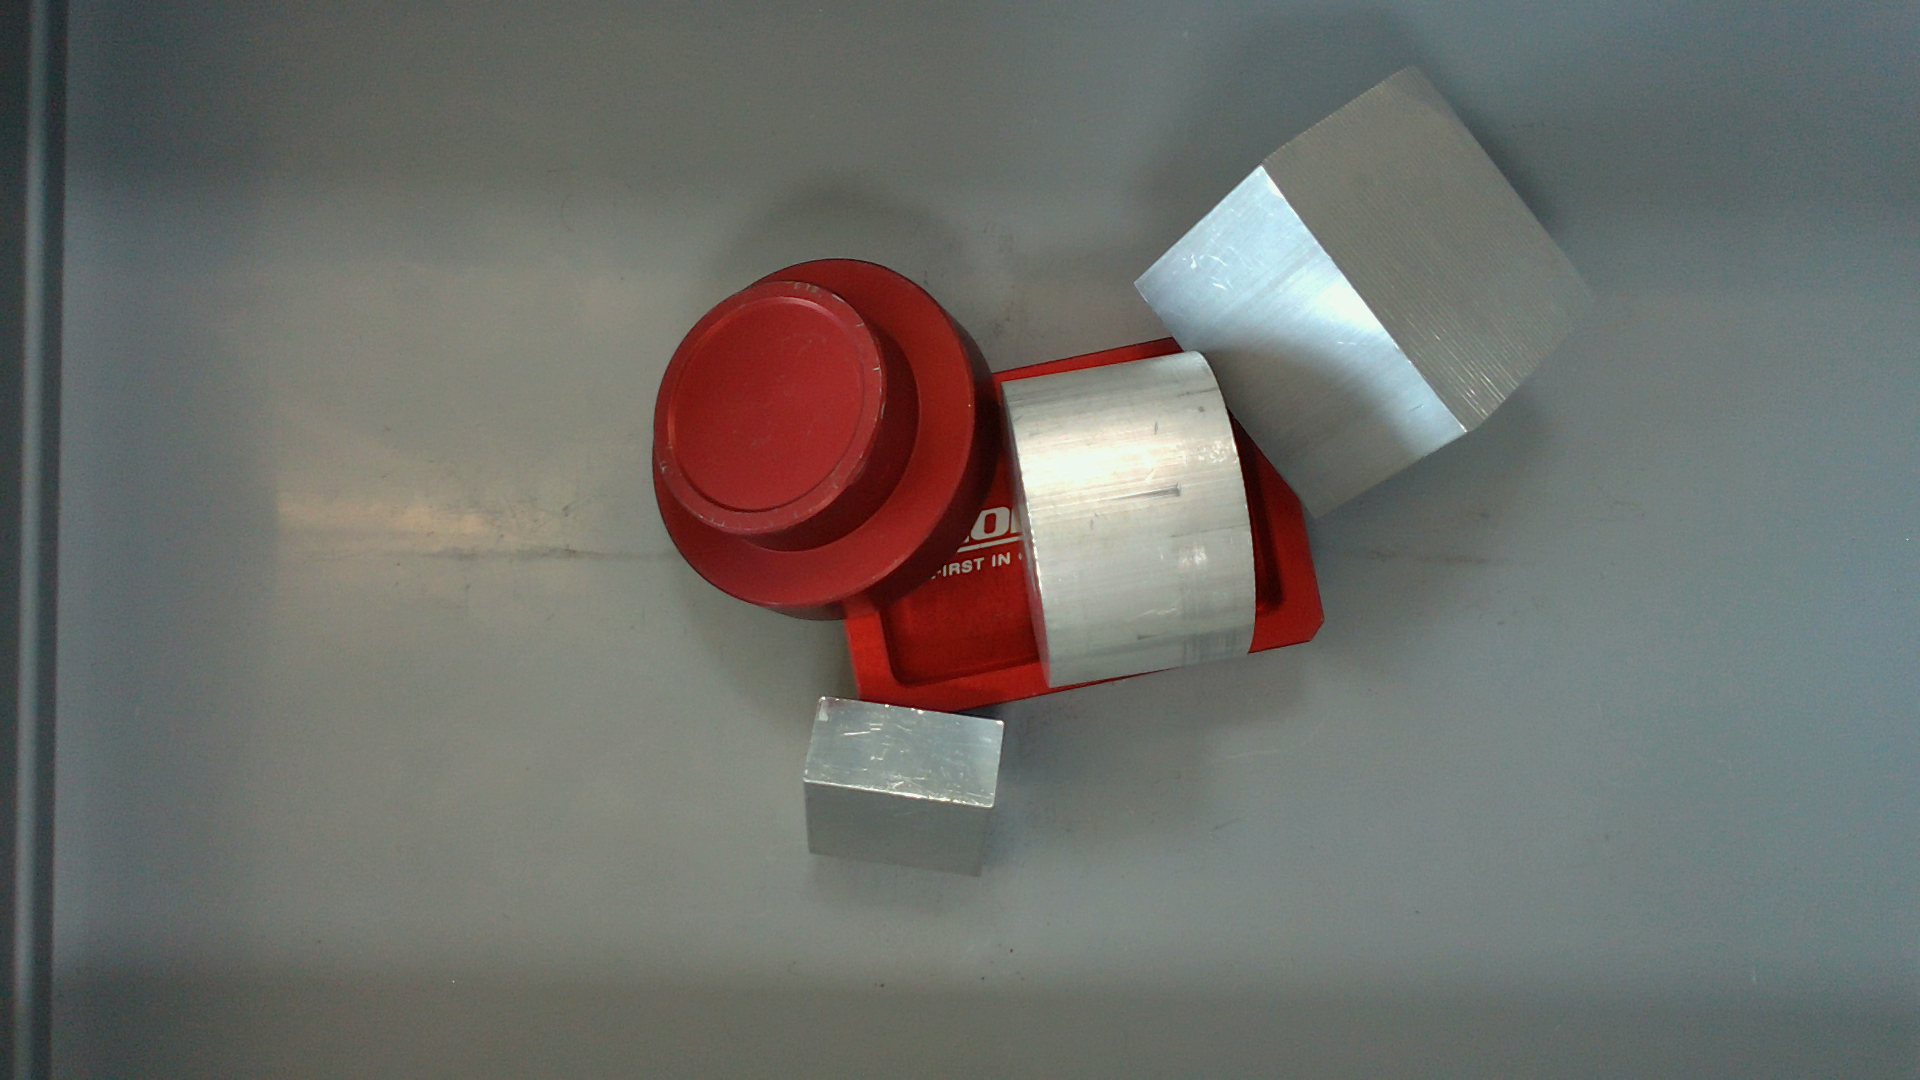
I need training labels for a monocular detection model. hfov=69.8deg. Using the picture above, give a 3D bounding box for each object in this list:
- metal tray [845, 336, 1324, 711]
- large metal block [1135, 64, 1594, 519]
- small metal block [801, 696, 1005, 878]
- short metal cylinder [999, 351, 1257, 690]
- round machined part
[{"bbox_3d":[0.029,-0.004,0.393,0.130,0.030,0.090,-11,90,0],"label":"metal tray"},{"bbox_3d":[0.107,-0.066,0.362,0.080,0.050,0.080,-39,91,-36],"label":"large metal block"},{"bbox_3d":[-0.016,0.069,0.380,0.050,0.050,0.025,8,56,1],"label":"small metal block"},{"bbox_3d":[0.041,-0.005,0.354,0.050,0.080,0.080,-9,90,-1],"label":"short metal cylinder"},{"bbox_3d":[-0.042,-0.030,0.366,0.098,0.042,0.098,-6,74,22],"label":"round machined part"}]
